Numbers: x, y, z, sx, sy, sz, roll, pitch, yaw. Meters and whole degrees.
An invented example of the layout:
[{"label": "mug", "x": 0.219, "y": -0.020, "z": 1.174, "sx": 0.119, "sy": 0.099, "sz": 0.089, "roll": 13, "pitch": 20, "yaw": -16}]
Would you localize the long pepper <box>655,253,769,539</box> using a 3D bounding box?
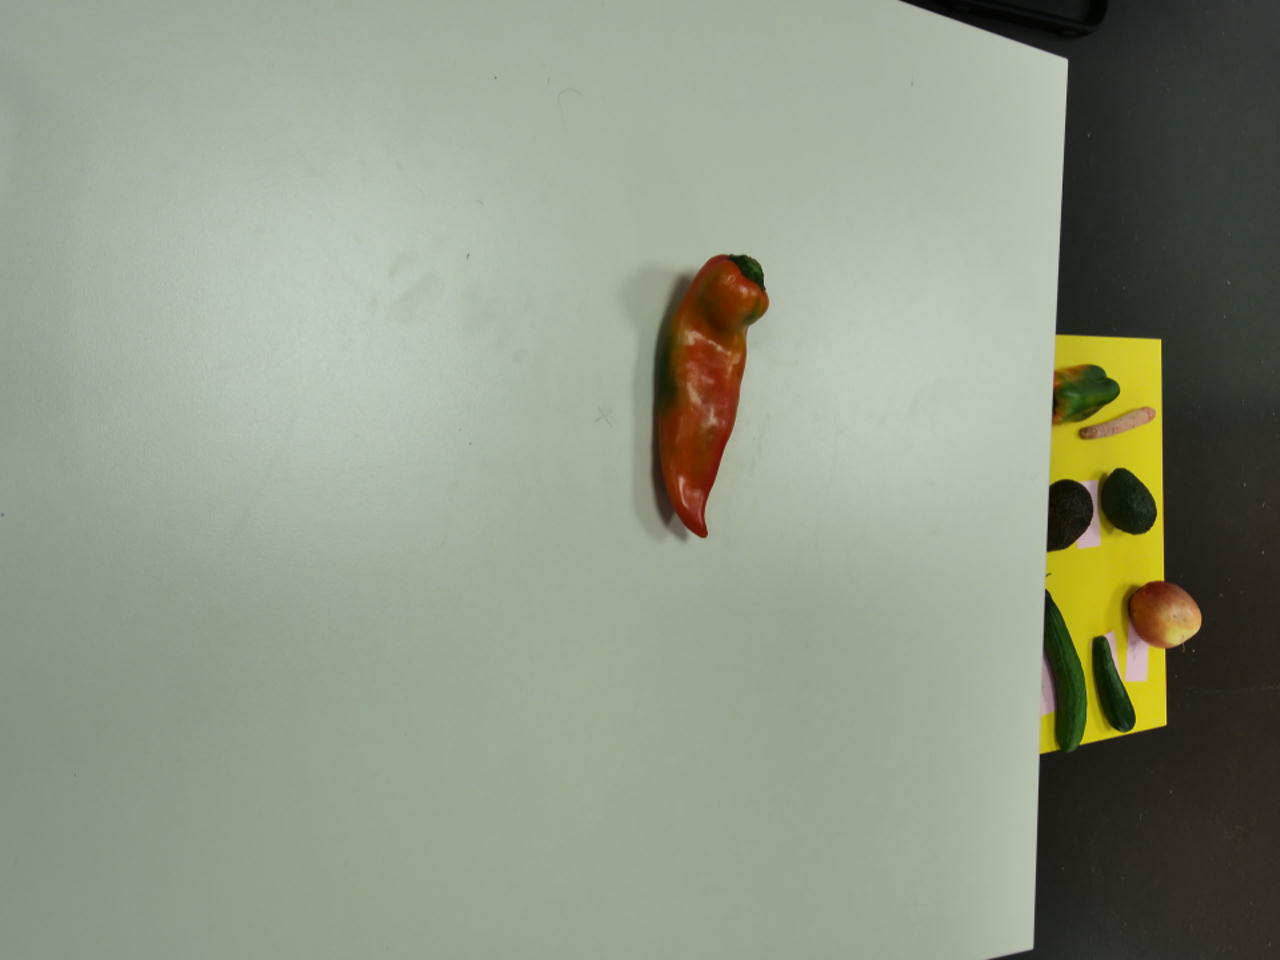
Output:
[{"label": "long pepper", "x": 0.051, "y": -0.059, "z": 0.696, "sx": 0.066, "sy": 0.065, "sz": 0.199, "roll": 10, "pitch": 86, "yaw": -28}]
